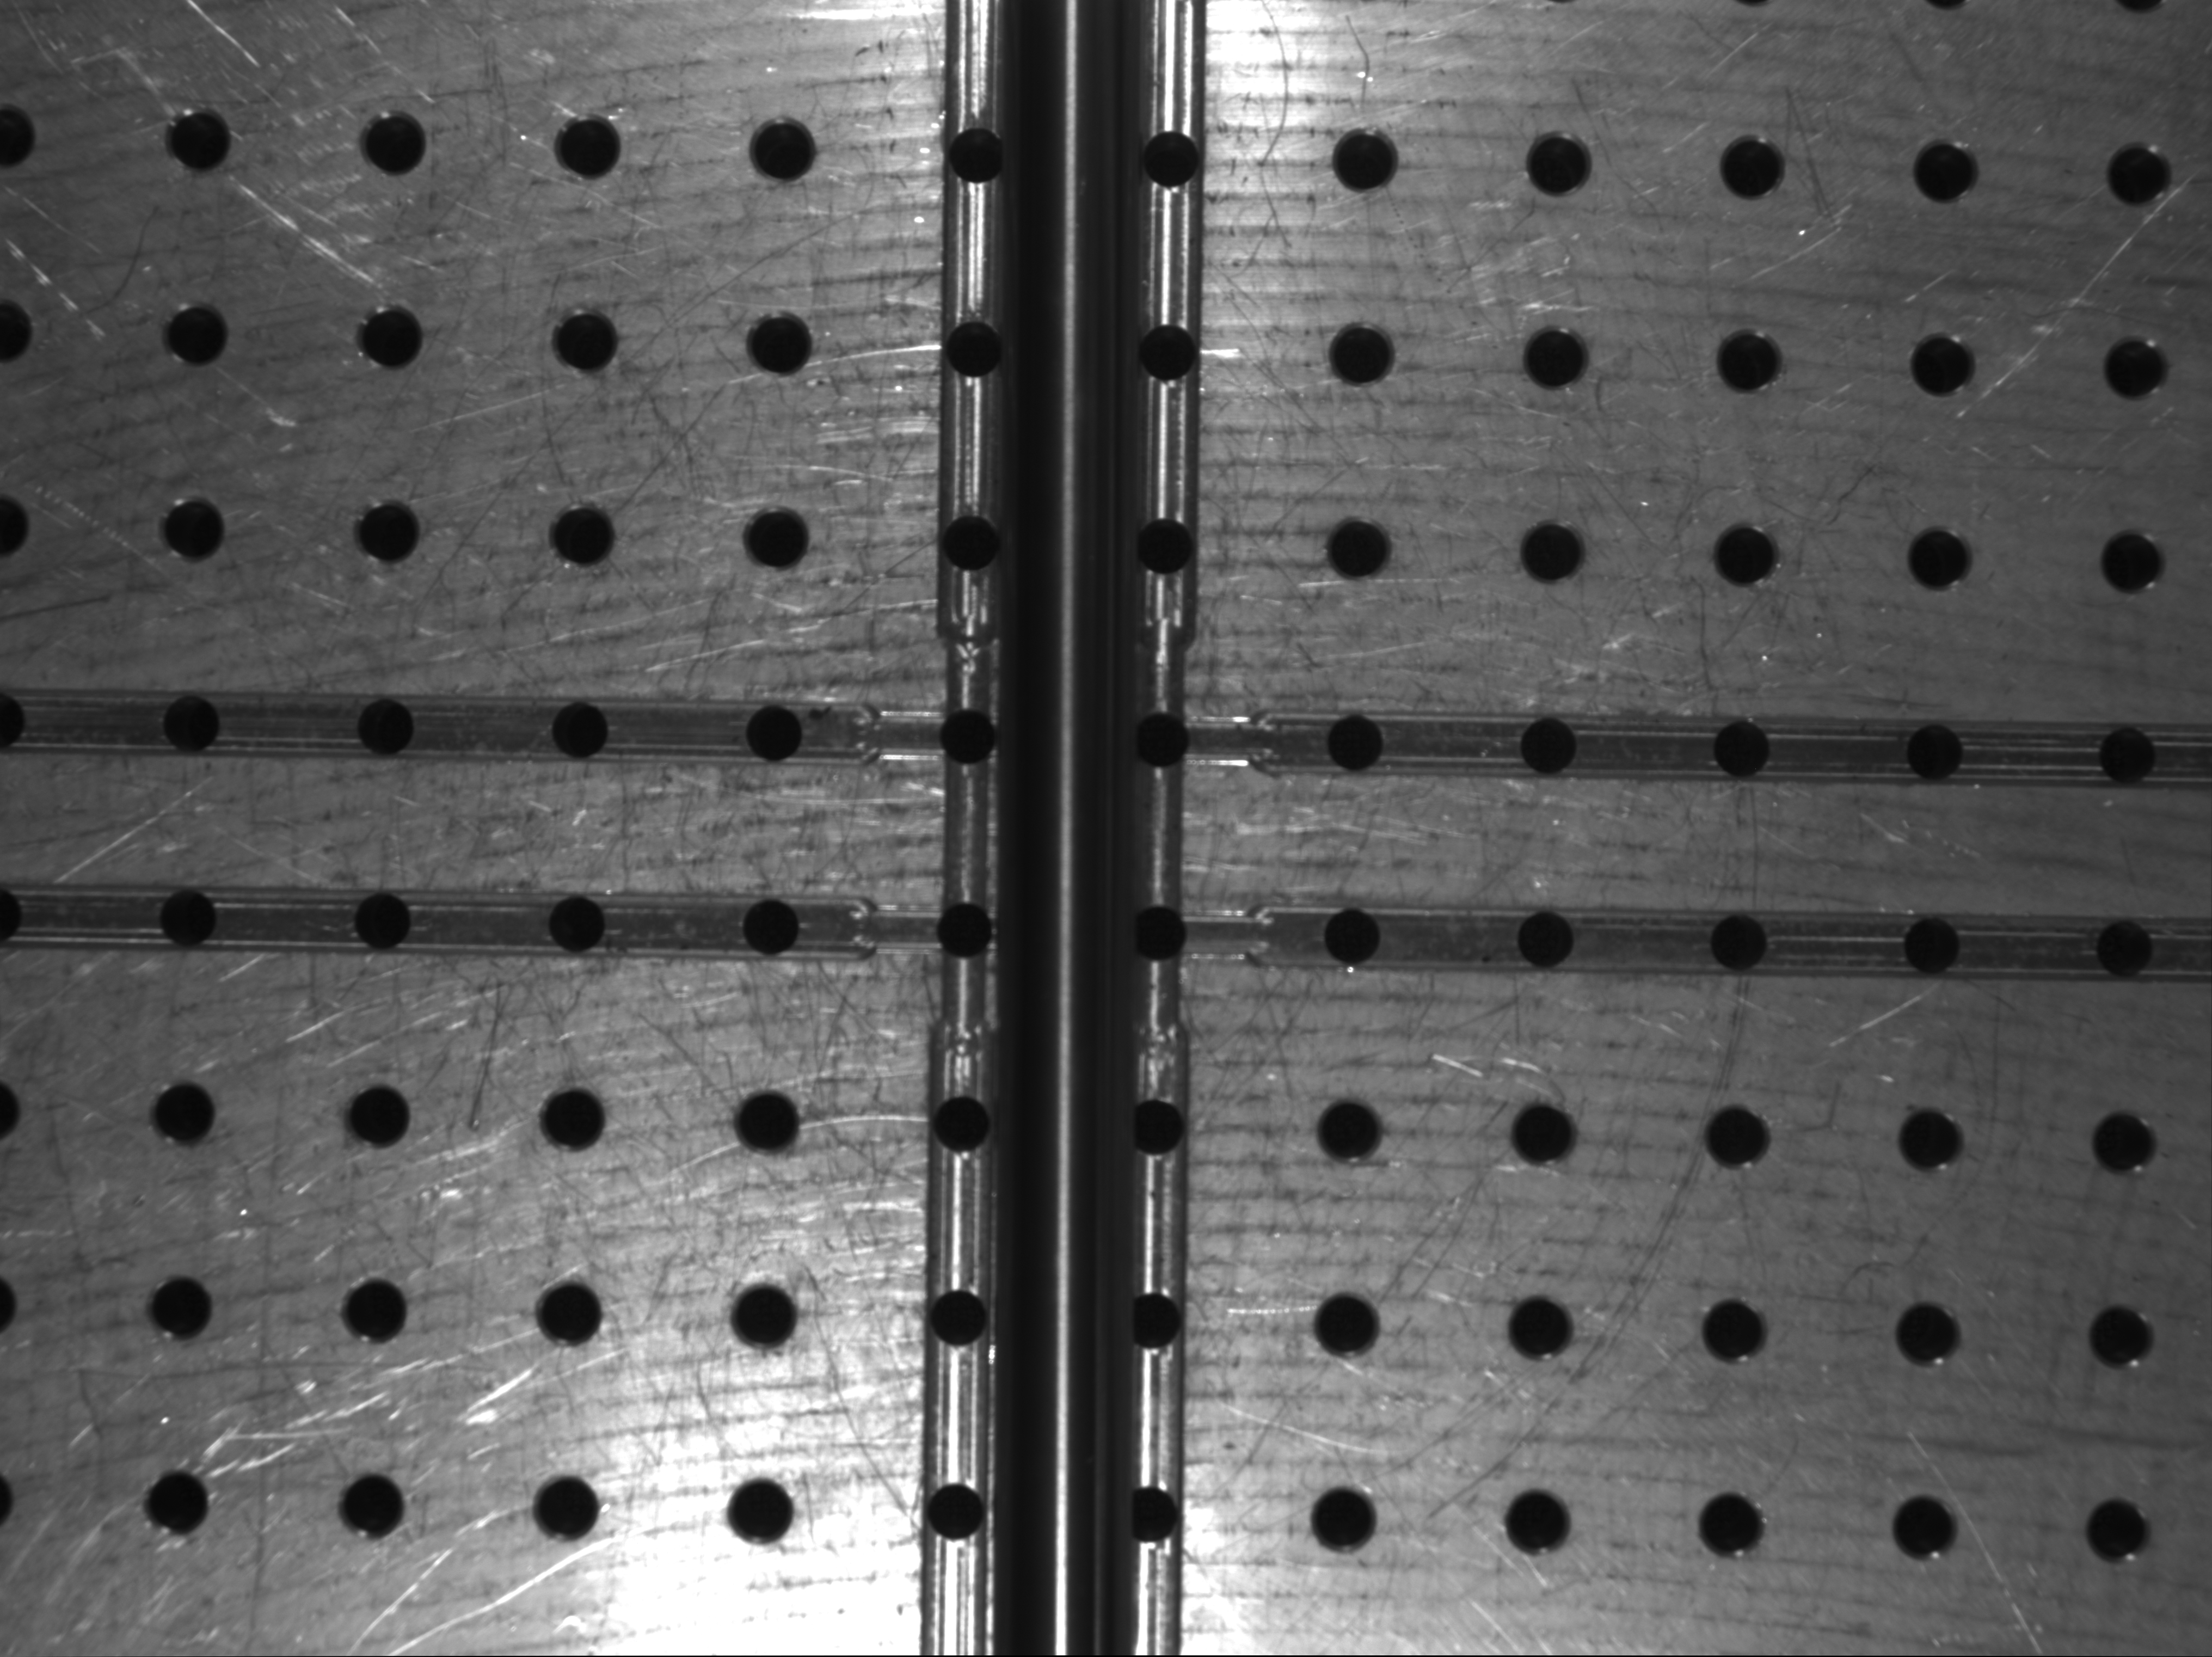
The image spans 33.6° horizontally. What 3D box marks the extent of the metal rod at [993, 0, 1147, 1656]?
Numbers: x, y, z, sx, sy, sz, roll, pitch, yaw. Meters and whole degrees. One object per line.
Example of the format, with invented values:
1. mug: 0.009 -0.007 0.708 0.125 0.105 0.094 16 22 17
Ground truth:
1. metal rod: -0.006 0.004 0.647 0.025 0.025 0.300 0 90 0
